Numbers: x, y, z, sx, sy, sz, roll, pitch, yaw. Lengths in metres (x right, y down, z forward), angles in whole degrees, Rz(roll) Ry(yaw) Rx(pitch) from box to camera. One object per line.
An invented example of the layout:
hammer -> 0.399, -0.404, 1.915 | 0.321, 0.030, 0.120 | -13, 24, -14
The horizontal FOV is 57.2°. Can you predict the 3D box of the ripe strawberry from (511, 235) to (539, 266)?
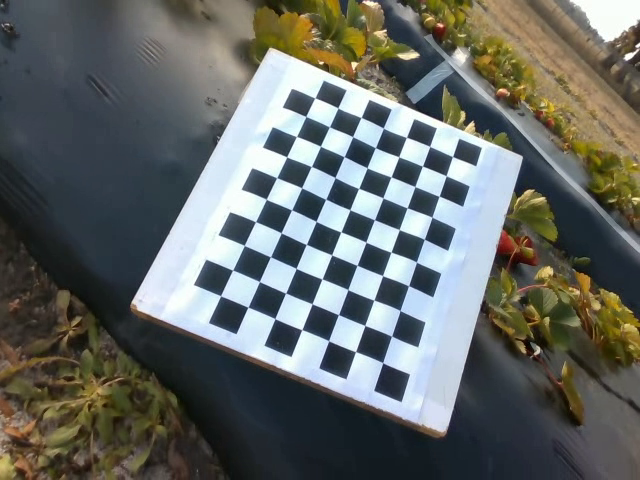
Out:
ripe strawberry -> 0.330, 0.021, 0.933 | 0.049, 0.065, 0.050 | -24, -19, -18
